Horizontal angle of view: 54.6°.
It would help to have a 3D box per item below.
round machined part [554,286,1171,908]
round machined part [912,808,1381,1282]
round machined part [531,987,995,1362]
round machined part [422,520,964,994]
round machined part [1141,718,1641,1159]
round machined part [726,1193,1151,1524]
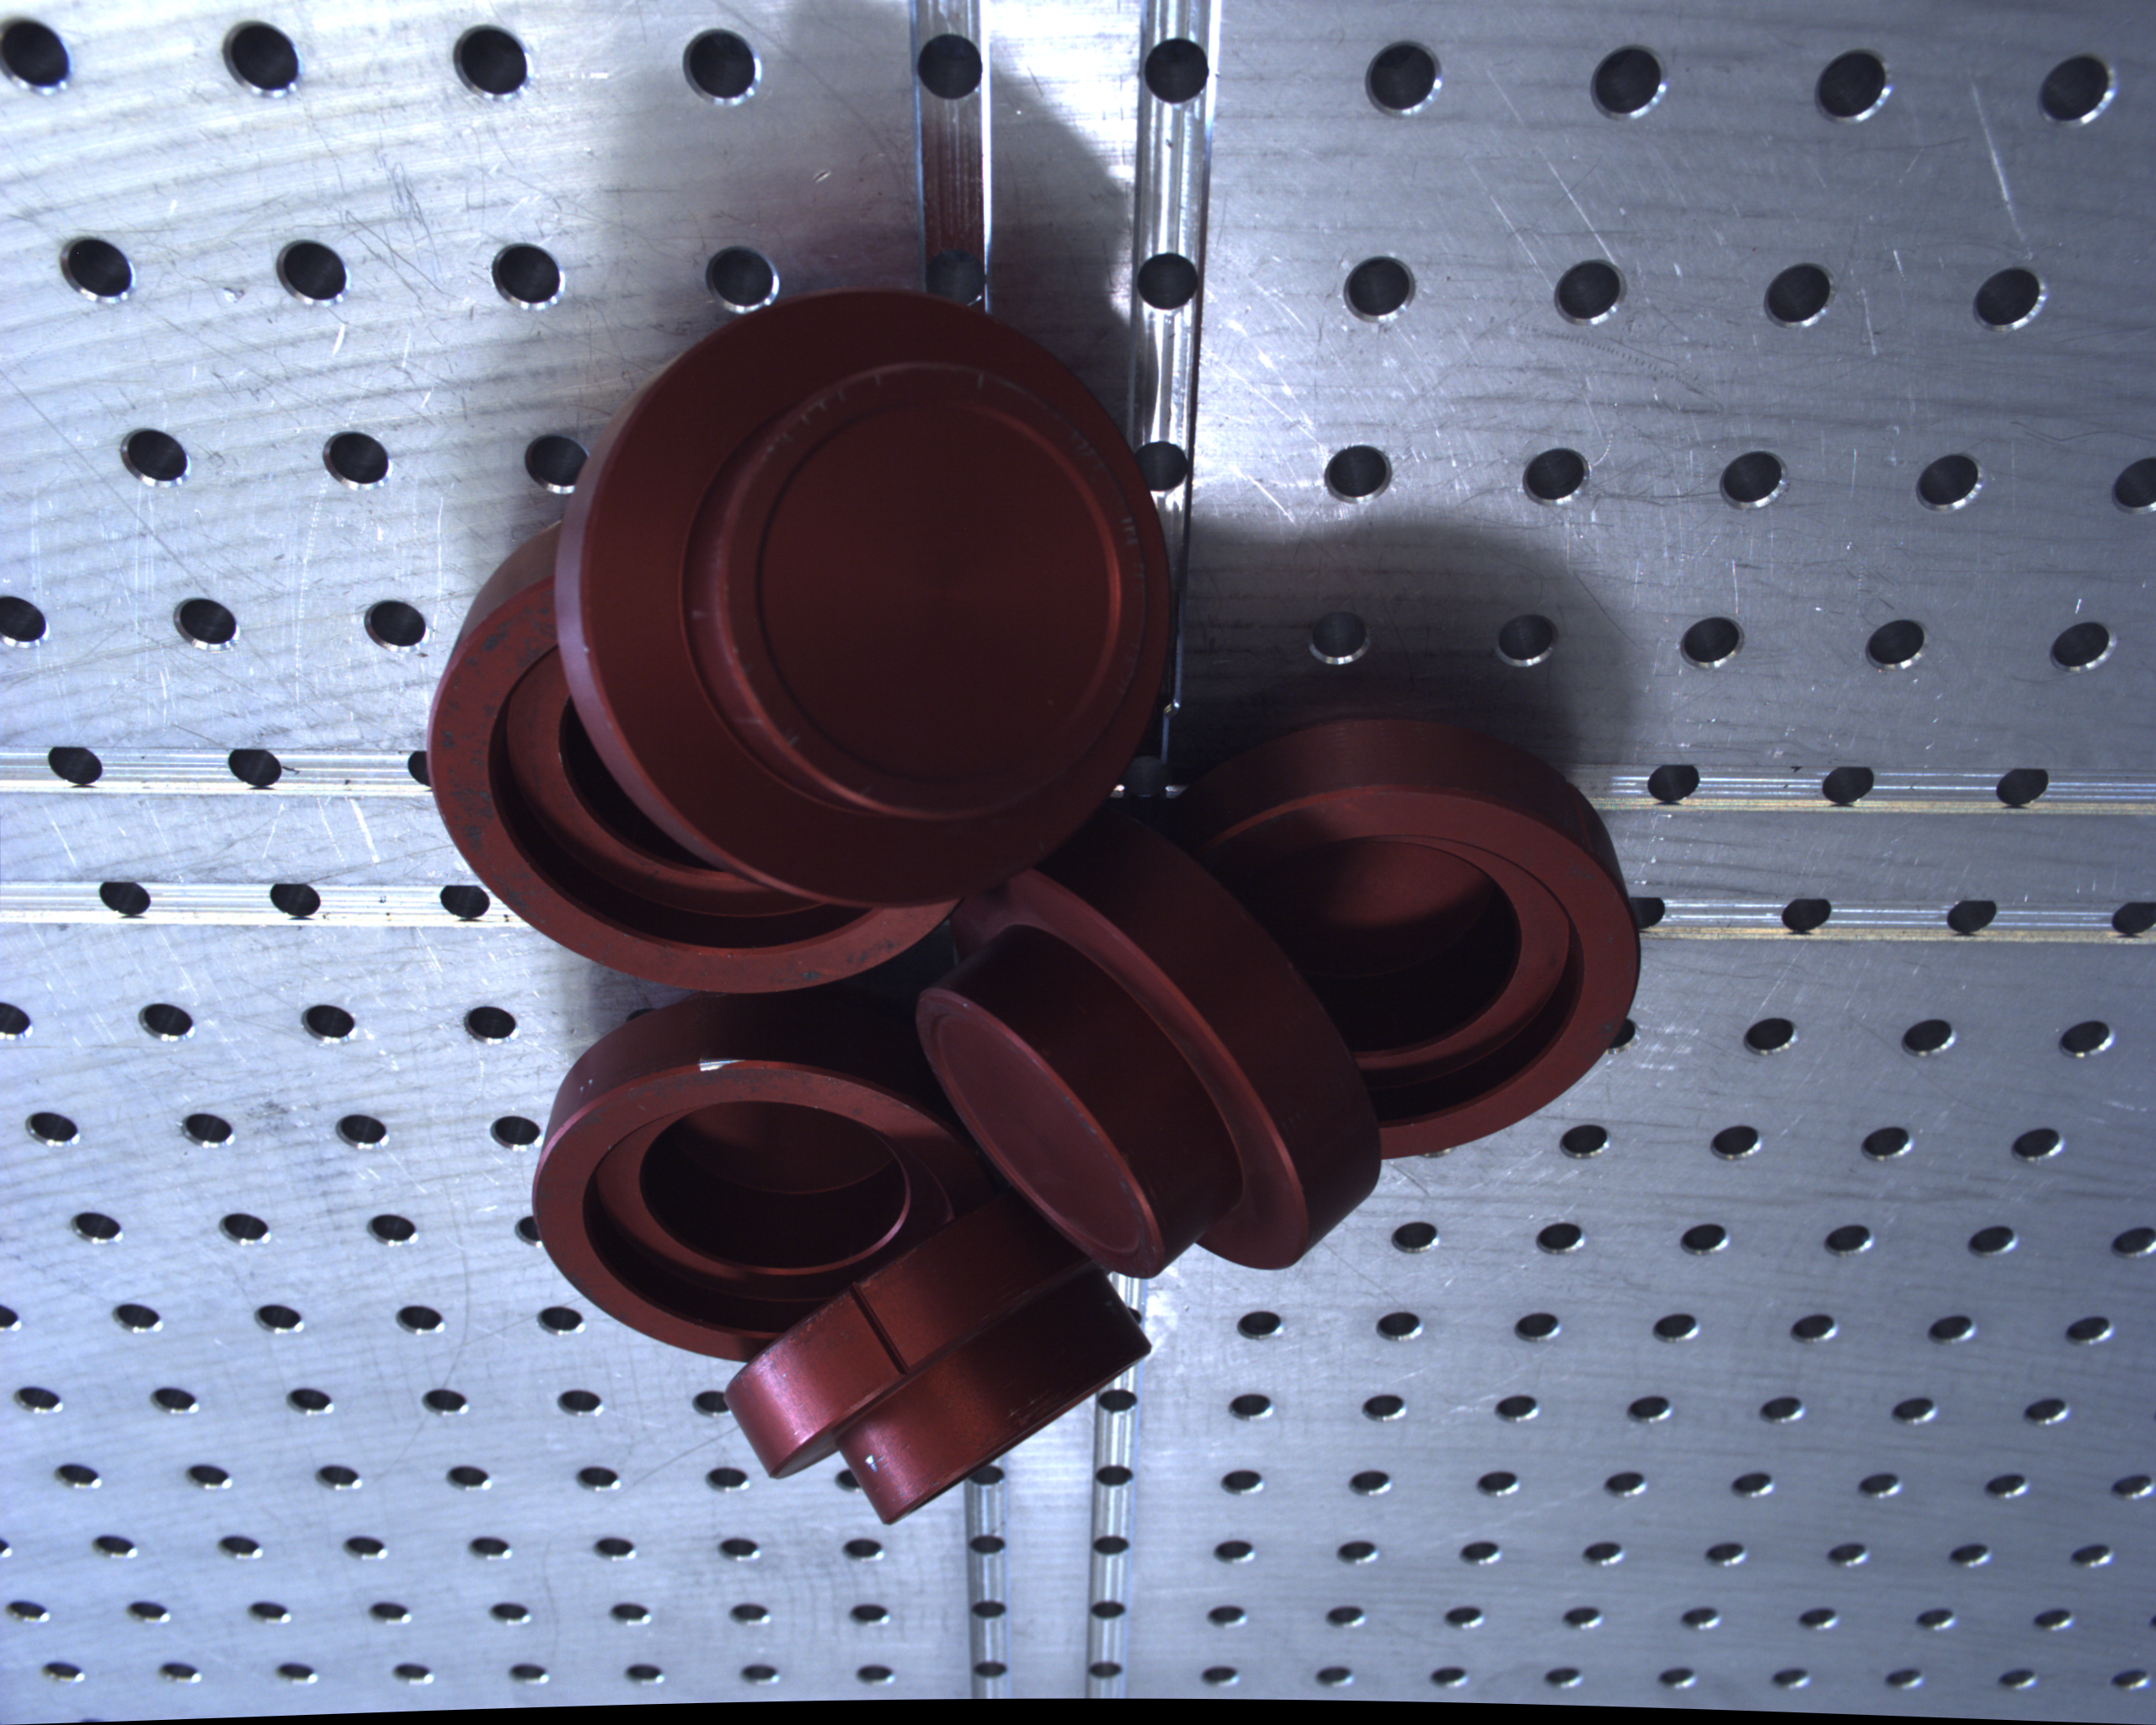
[{"bbox_3d":[-0.028,-0.041,0.329,0.099,0.042,0.097,-1,93,-26],"label":"round machined part"},{"bbox_3d":[0.007,0.040,0.394,0.042,0.098,0.098,-38,133,-23],"label":"round machined part"},{"bbox_3d":[-0.064,0.063,0.452,0.099,0.042,0.097,0,130,0],"label":"round machined part"},{"bbox_3d":[-0.063,-0.025,0.377,0.099,0.042,0.097,0,130,0],"label":"round machined part"},{"bbox_3d":[0.056,0.011,0.409,0.099,0.042,0.097,0,130,0],"label":"round machined part"},{"bbox_3d":[-0.023,0.107,0.453,0.098,0.042,0.098,-32,166,-9],"label":"round machined part"}]
